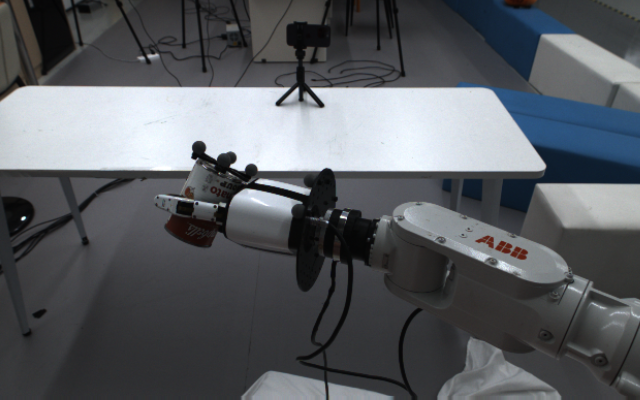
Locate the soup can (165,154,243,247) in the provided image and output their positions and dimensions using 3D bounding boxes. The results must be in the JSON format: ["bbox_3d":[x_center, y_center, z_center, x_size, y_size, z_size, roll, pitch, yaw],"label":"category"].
[{"bbox_3d":[-0.155,0.005,0.645,0.067,0.101,0.067,27,6,-3],"label":"soup can"}]
